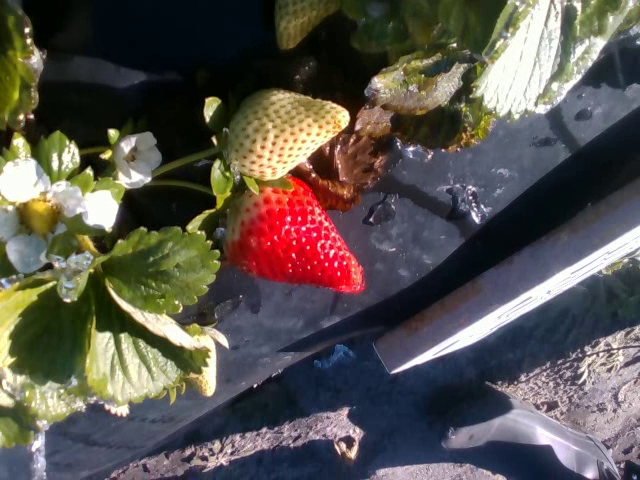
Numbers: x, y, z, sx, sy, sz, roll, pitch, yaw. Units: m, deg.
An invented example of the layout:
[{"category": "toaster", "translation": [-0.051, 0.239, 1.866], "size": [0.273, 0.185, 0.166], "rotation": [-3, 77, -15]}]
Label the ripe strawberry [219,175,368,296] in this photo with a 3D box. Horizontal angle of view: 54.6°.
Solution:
[{"category": "ripe strawberry", "translation": [-0.006, 0.002, 0.201], "size": [0.053, 0.042, 0.040], "rotation": [36, -42, 2]}]
